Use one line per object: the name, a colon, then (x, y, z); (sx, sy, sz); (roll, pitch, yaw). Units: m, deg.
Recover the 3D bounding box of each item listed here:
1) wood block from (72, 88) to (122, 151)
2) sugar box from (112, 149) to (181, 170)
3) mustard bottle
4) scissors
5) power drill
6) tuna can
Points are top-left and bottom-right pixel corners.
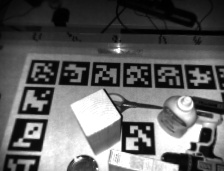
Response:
wood block: (-0.033, 0.100, 0.584); (0.091, 0.207, 0.089); (-25, 66, -10)
sugar box: (0.089, 0.213, 0.582); (0.176, 0.093, 0.045); (12, 61, 5)
mustard bottle: (0.188, 0.072, 0.604); (0.058, 0.192, 0.095); (-37, 69, -14)
scissors: (0.054, 0.050, 0.703); (0.202, 0.016, 0.087); (3, 60, 2)
power drill: (0.235, 0.145, 0.633); (0.184, 0.057, 0.187); (13, 71, 7)
tuna can: (-0.076, 0.228, 0.602); (0.086, 0.034, 0.085); (1, 64, 0)
